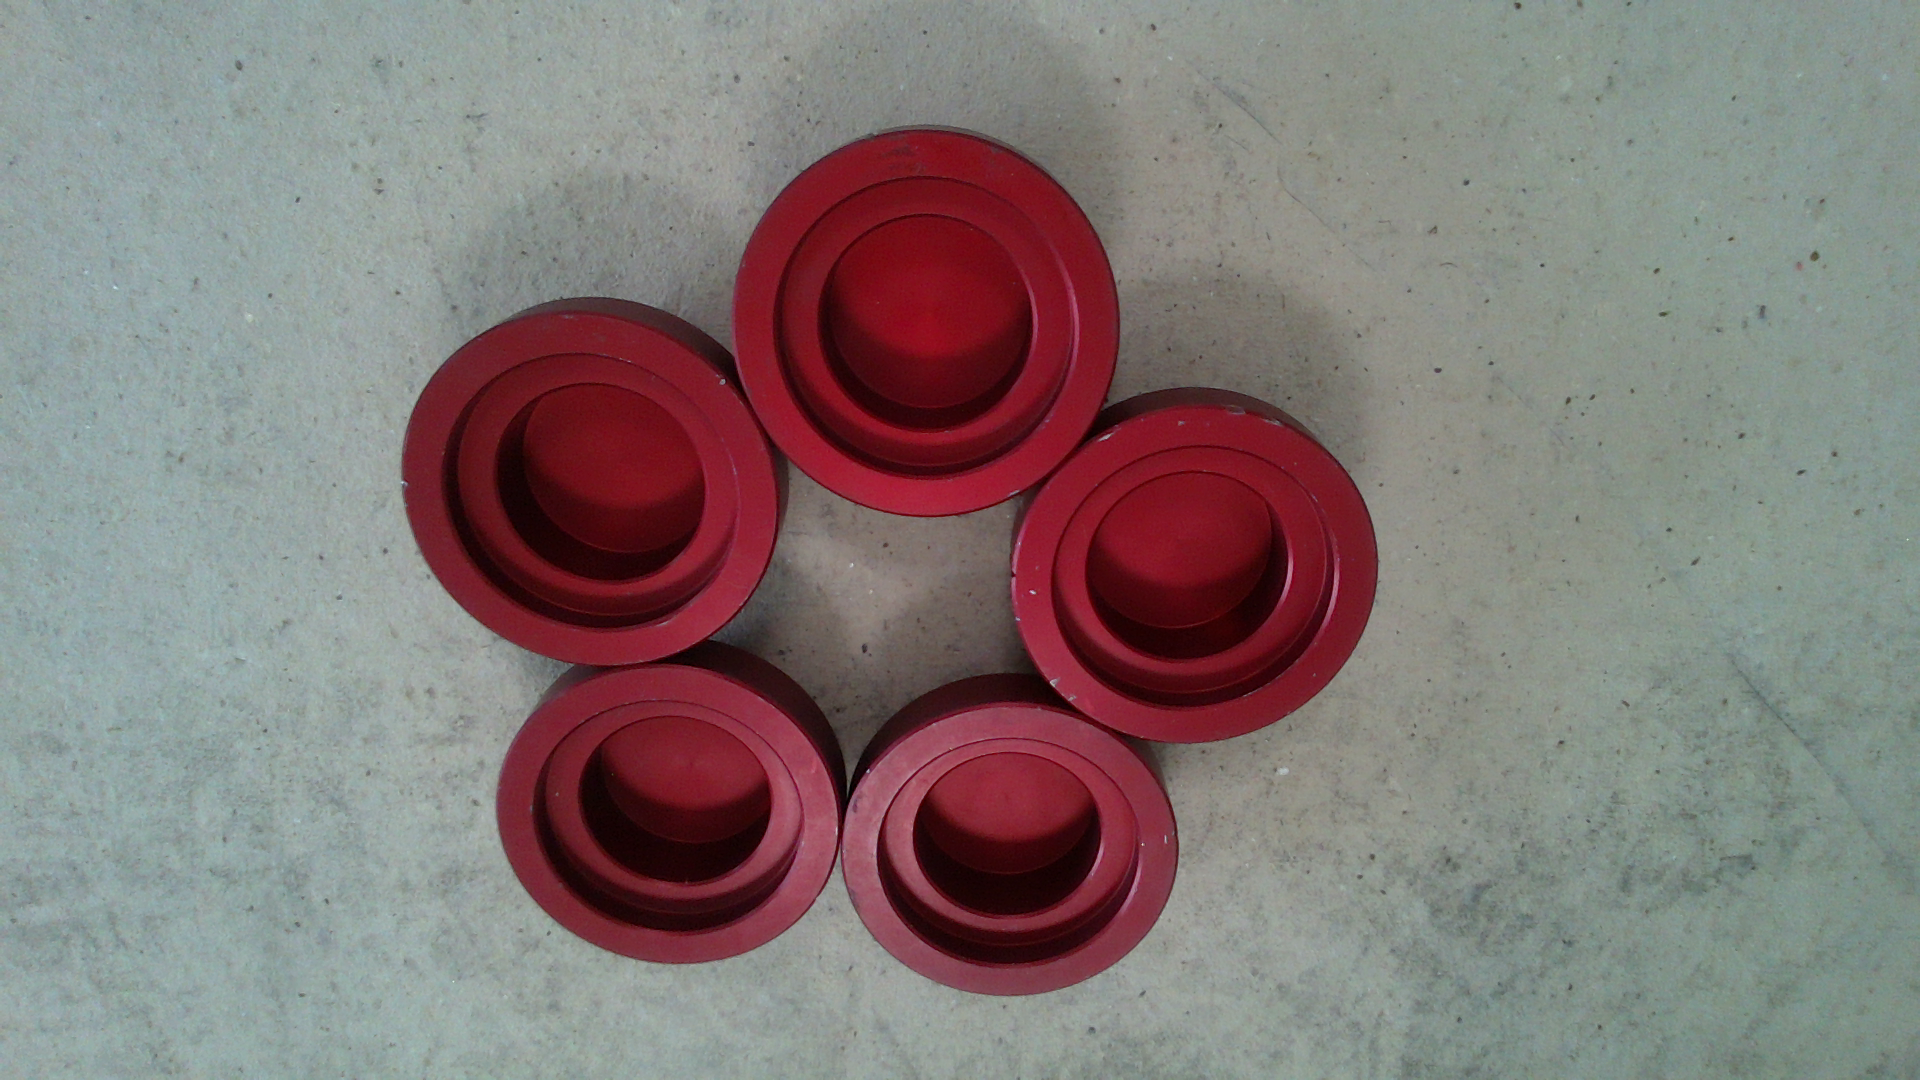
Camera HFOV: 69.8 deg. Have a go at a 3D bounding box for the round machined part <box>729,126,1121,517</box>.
[{"bbox_3d":[-0.009,-0.059,0.362,0.098,0.042,0.098,0,109,-1],"label":"round machined part"}]

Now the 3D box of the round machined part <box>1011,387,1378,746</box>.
[{"bbox_3d":[0.062,0.005,0.386,0.098,0.042,0.098,0,109,-1],"label":"round machined part"}]

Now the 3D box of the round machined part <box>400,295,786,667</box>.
[{"bbox_3d":[-0.097,-0.018,0.378,0.098,0.042,0.098,0,109,0],"label":"round machined part"}]

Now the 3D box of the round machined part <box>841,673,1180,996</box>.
[{"bbox_3d":[0.014,0.084,0.416,0.098,0.042,0.098,0,110,-1],"label":"round machined part"}]

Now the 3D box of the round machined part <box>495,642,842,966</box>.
[{"bbox_3d":[-0.083,0.074,0.411,0.098,0.042,0.098,0,109,-1],"label":"round machined part"}]
